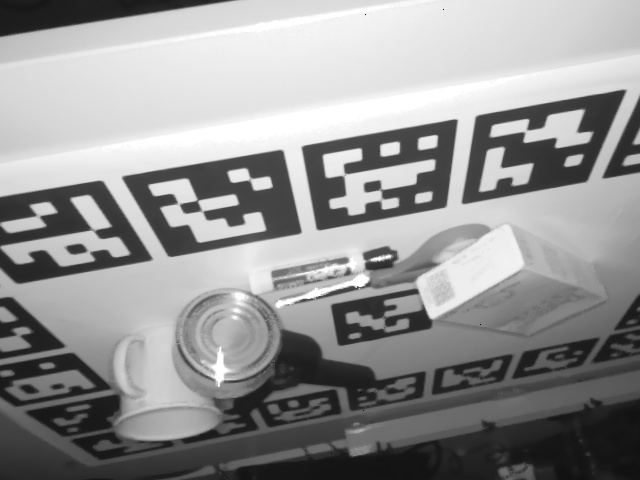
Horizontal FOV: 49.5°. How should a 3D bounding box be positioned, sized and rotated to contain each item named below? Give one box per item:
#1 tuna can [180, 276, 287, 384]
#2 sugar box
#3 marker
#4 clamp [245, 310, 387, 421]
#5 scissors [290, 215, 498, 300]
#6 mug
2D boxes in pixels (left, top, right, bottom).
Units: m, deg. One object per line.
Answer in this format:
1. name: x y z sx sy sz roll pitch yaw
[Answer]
1. tuna can: -0.071 0.072 0.570 0.086 0.086 0.033 1 142 -15
2. sugar box: 0.181 0.034 0.610 0.091 0.045 0.178 -34 144 28
3. marker: 0.022 0.009 0.566 0.121 0.020 0.019 -12 142 1
4. clamp: -0.030 0.123 0.707 0.165 0.037 0.202 -16 142 8
5. scissors: 0.071 0.027 0.599 0.202 0.016 0.087 -15 147 8
6. mug: -0.125 0.109 0.614 0.092 0.082 0.118 -27 144 21
